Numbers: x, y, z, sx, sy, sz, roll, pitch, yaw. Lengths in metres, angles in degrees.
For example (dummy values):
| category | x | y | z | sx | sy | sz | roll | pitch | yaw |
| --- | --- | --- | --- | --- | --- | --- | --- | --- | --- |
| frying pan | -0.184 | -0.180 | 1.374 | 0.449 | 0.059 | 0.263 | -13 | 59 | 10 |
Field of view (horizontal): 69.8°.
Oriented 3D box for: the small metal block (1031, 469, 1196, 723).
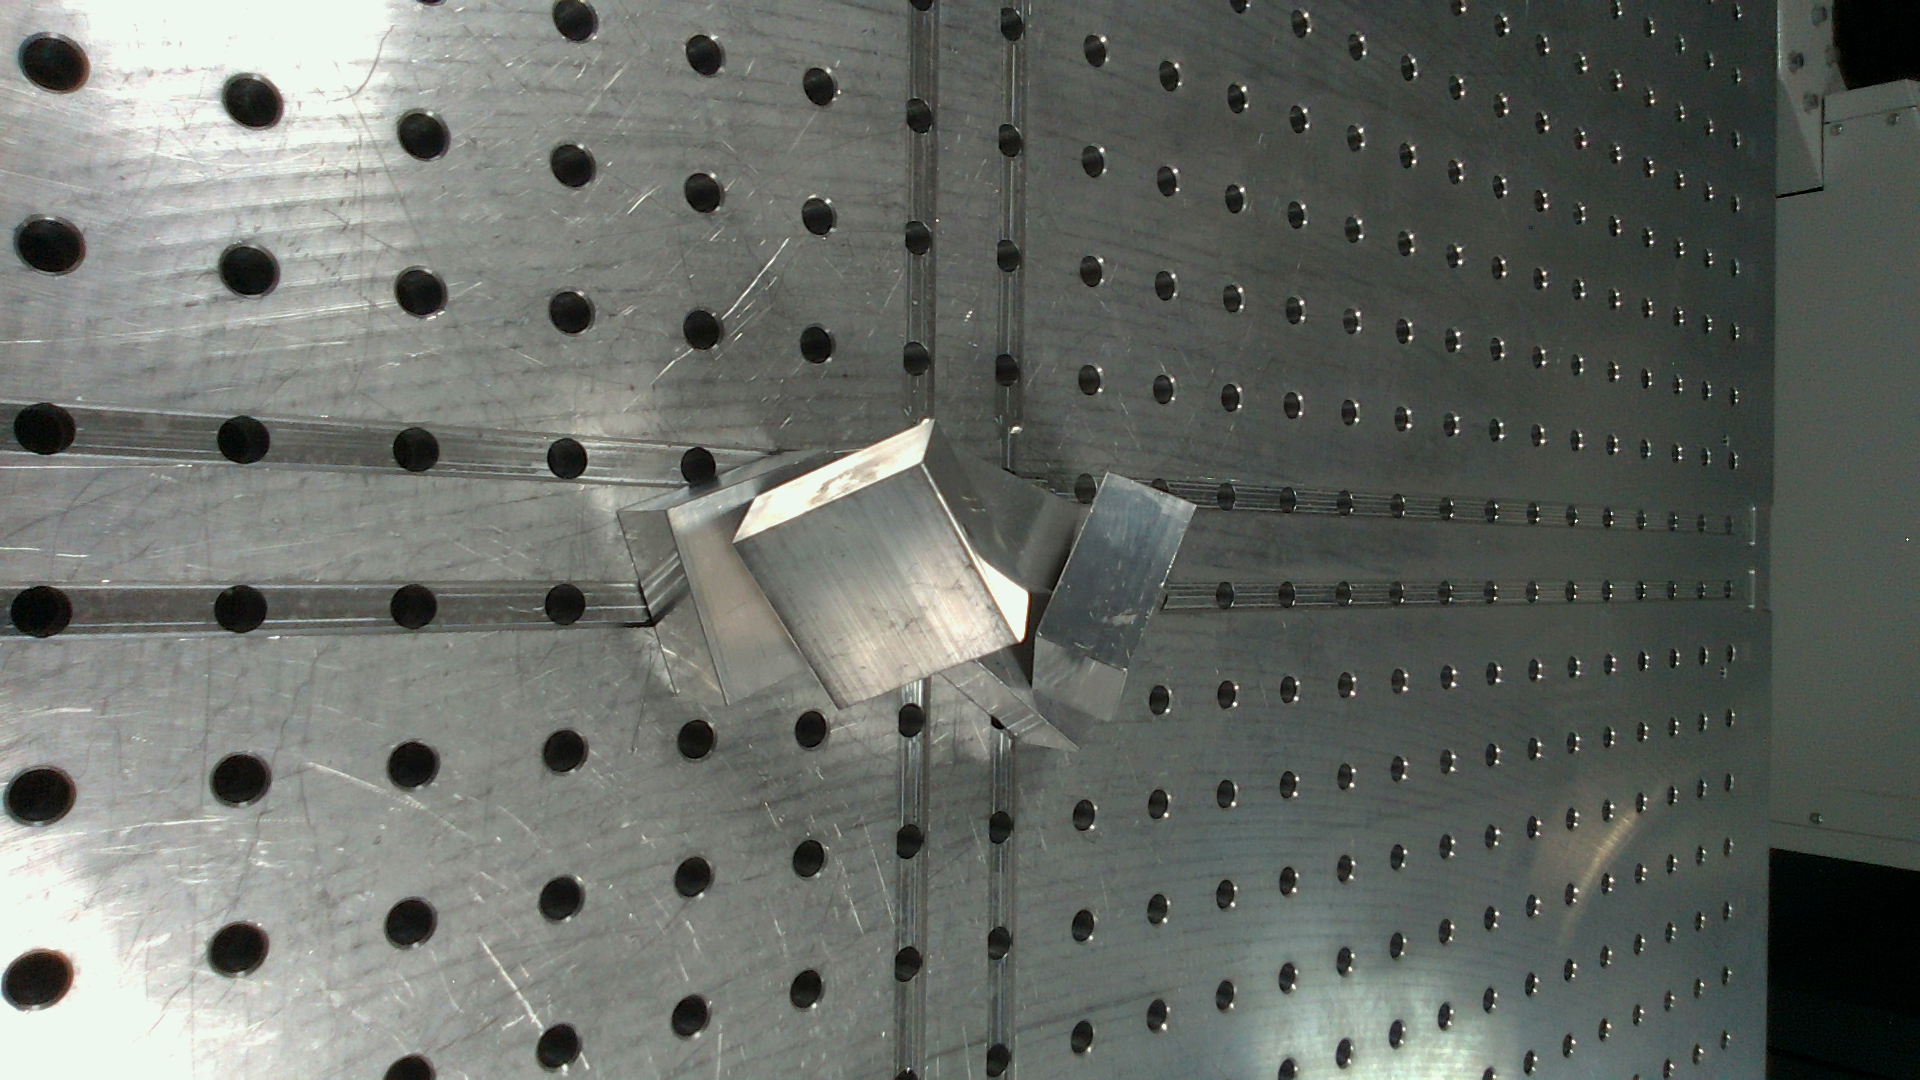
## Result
| category | x | y | z | sx | sy | sz | roll | pitch | yaw |
| --- | --- | --- | --- | --- | --- | --- | --- | --- | --- |
| small metal block | 0.041 | 0.016 | 0.375 | 0.050 | 0.025 | 0.050 | 86 | 27 | -68 |

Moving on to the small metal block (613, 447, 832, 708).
| category | x | y | z | sx | sy | sz | roll | pitch | yaw |
| --- | --- | --- | --- | --- | --- | --- | --- | --- | --- |
| small metal block | -0.053 | 0.008 | 0.349 | 0.050 | 0.025 | 0.050 | -25 | 106 | -37 |

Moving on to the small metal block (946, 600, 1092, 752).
| category | x | y | z | sx | sy | sz | roll | pitch | yaw |
| --- | --- | --- | --- | --- | --- | --- | --- | --- | --- |
| small metal block | 0.022 | 0.027 | 0.411 | 0.050 | 0.025 | 0.050 | 43 | 64 | -31 |

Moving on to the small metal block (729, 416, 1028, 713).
| category | x | y | z | sx | sy | sz | roll | pitch | yaw |
| --- | --- | --- | --- | --- | --- | --- | --- | --- | --- |
| small metal block | -0.018 | 0.006 | 0.325 | 0.050 | 0.050 | 0.025 | 60 | 18 | -22 |

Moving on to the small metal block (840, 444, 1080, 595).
| category | x | y | z | sx | sy | sz | roll | pitch | yaw |
| --- | --- | --- | --- | --- | --- | --- | --- | --- | --- |
| small metal block | -0.005 | -0.005 | 0.371 | 0.050 | 0.050 | 0.025 | 24 | 75 | -37 |
